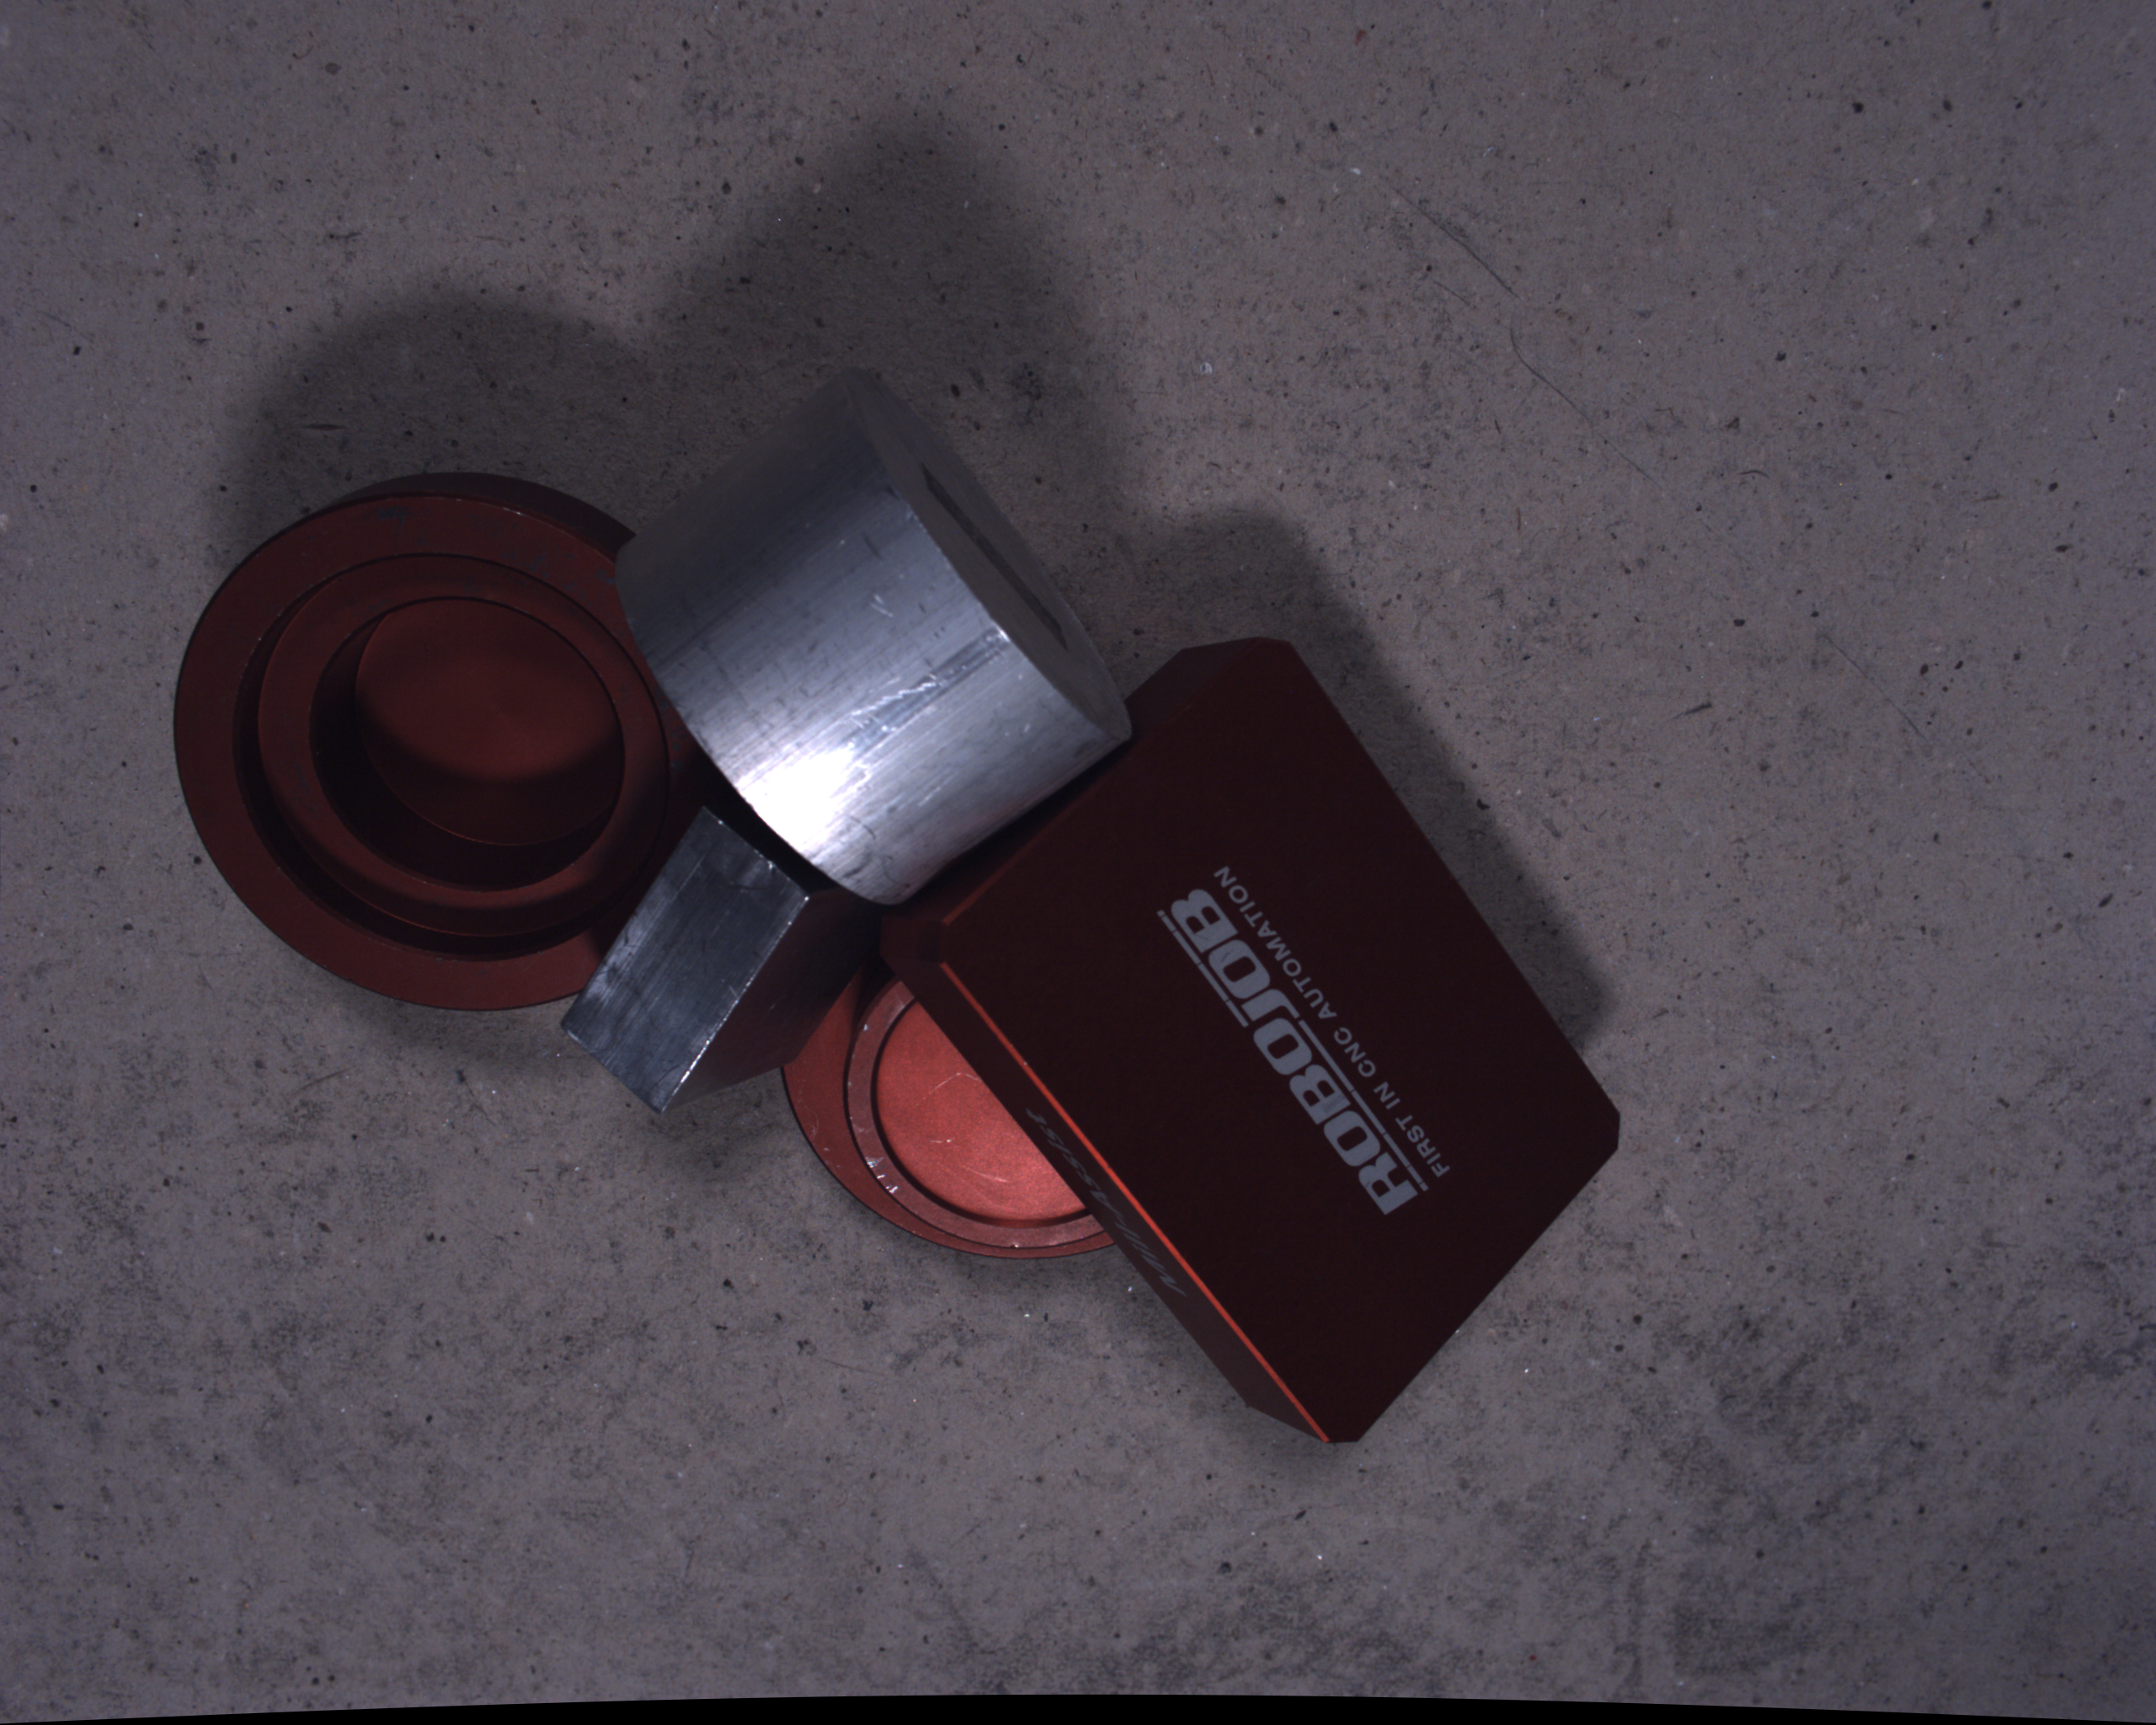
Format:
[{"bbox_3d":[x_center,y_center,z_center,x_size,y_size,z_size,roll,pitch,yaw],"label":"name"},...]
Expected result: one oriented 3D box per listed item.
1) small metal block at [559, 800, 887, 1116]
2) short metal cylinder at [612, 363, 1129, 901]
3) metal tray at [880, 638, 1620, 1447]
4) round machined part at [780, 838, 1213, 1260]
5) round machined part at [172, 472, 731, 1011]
[{"bbox_3d":[-0.060,0.015,0.383,0.025,0.050,0.050,39,107,12],"label":"small metal block"},{"bbox_3d":[-0.035,-0.040,0.367,0.050,0.080,0.080,-36,107,12],"label":"short metal cylinder"},{"bbox_3d":[0.036,0.034,0.398,0.090,0.030,0.130,-43,108,-19],"label":"metal tray"},{"bbox_3d":[-0.011,0.037,0.415,0.099,0.042,0.097,0,110,-1],"label":"round machined part"},{"bbox_3d":[-0.112,-0.025,0.391,0.099,0.042,0.097,0,110,-1],"label":"round machined part"}]
